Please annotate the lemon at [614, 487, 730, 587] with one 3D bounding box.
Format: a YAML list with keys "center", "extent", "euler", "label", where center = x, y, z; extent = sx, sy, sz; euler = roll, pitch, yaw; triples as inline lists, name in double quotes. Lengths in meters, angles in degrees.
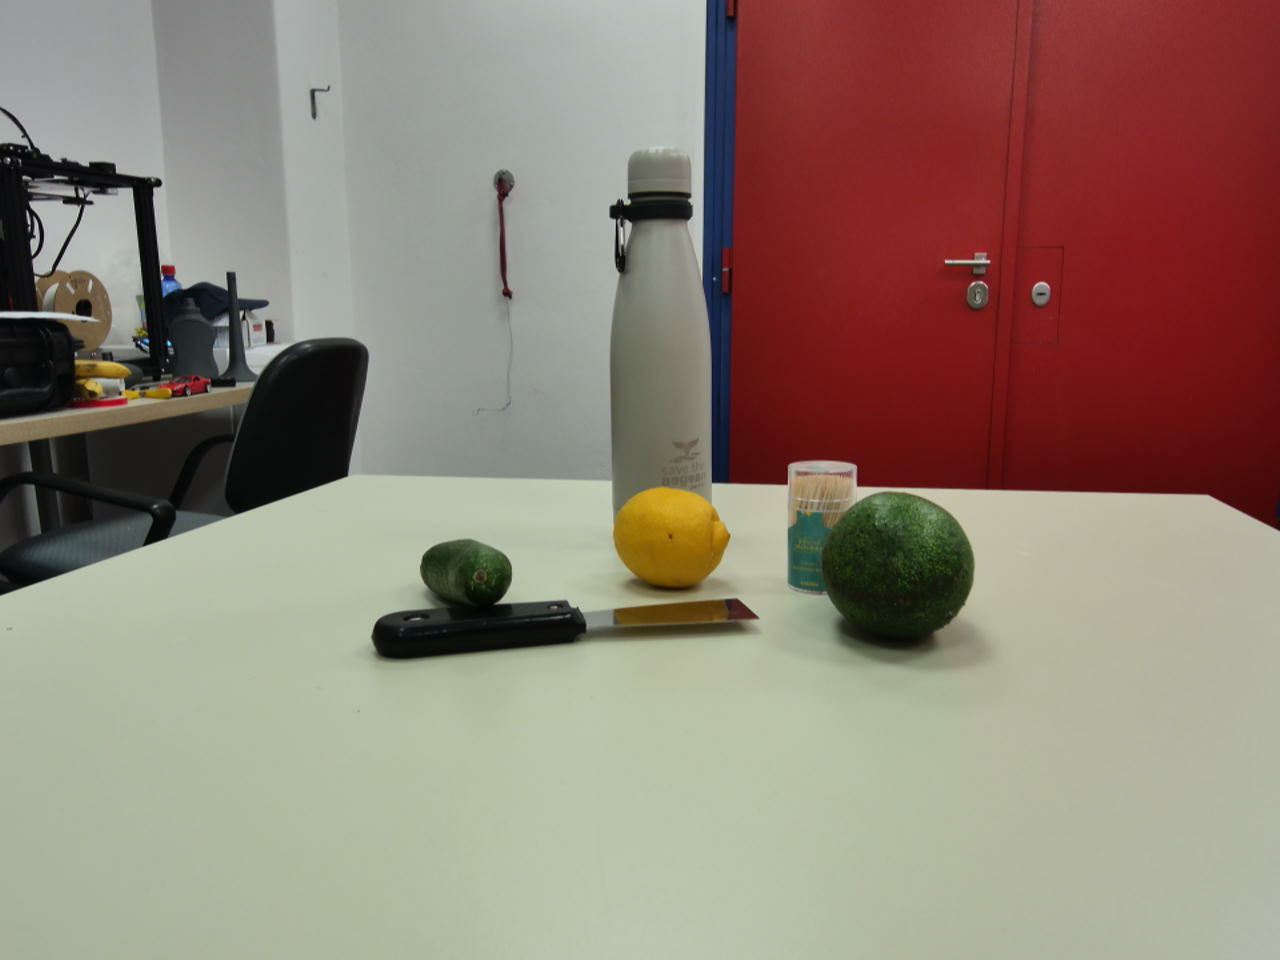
- center: [0.018, 0.034, 0.603]
  extent: [0.060, 0.059, 0.067]
  euler: [-4, 9, -36]
  label: "lemon"
